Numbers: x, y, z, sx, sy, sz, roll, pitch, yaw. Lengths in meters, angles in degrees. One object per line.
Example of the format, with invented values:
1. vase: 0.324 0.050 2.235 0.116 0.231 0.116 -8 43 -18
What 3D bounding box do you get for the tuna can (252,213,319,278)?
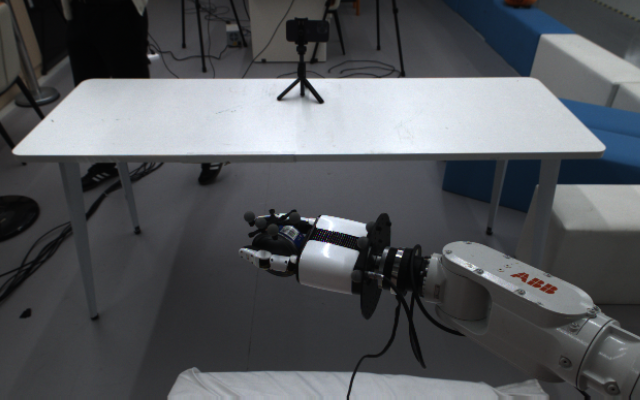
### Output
1. tuna can: -0.061 0.078 0.762 0.085 0.085 0.034 14 34 17
